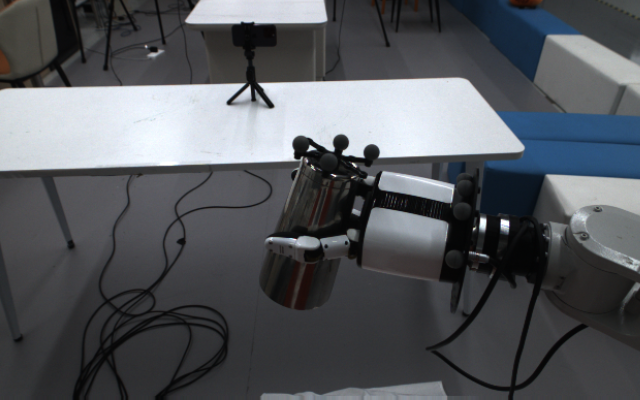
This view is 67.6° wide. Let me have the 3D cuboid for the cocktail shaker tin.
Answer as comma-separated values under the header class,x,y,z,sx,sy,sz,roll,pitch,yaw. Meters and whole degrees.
class,x,y,z,sx,sy,sz,roll,pitch,yaw
cocktail shaker tin,-0.006,0.031,0.558,0.093,0.170,0.093,12,29,-7
